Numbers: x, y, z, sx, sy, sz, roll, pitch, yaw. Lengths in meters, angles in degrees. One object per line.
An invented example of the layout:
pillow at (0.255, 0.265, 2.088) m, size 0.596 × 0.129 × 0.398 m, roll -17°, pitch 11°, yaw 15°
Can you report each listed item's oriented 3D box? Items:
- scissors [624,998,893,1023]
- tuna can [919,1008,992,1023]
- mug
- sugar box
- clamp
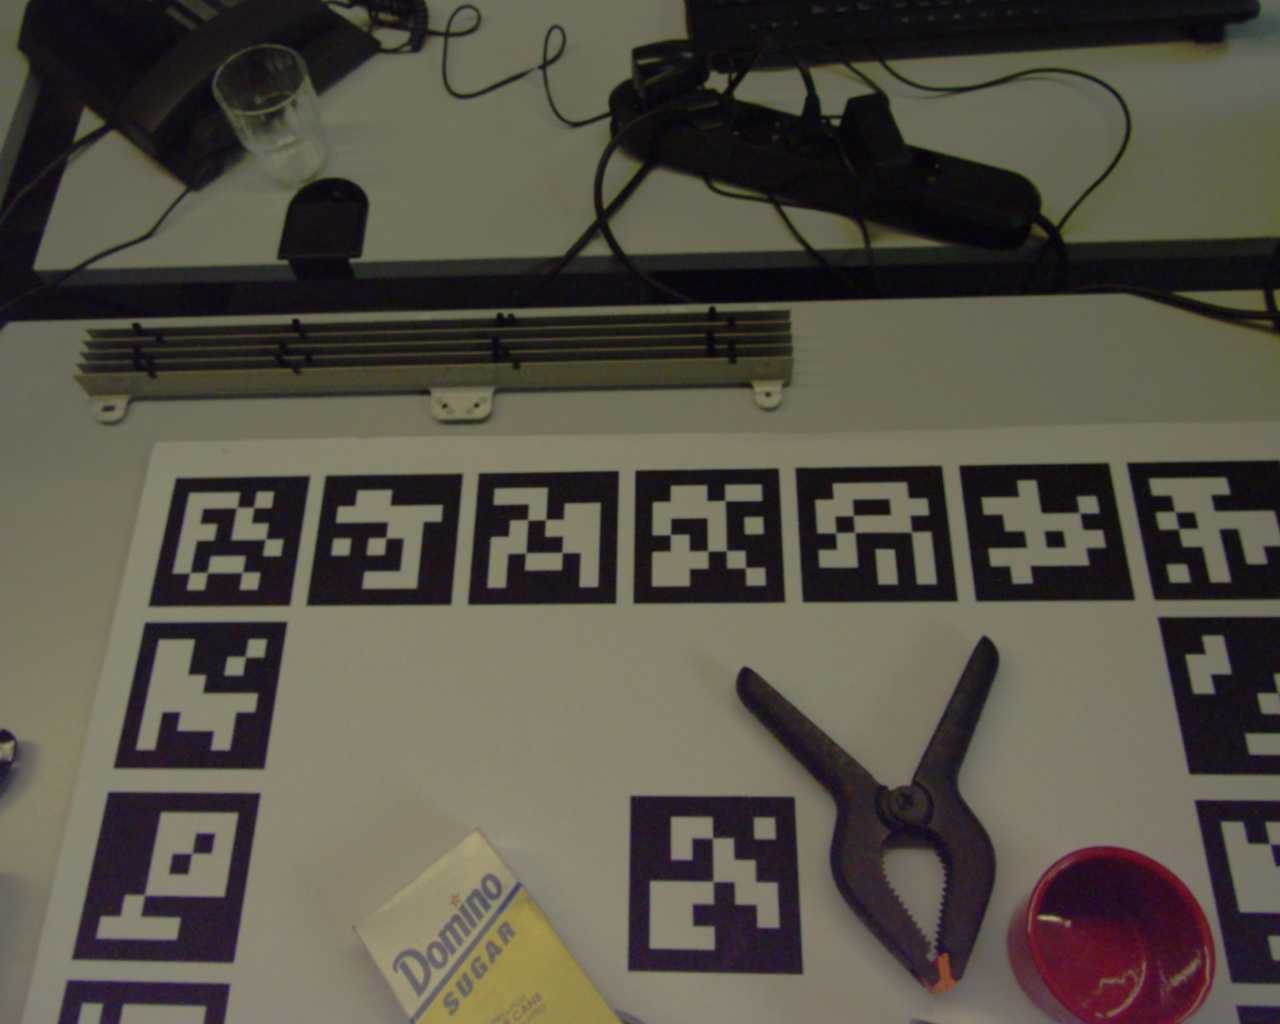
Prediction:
scissors at (0.047, 0.313, 0.661) m, size 0.202 × 0.016 × 0.088 m, roll -11°, pitch 60°, yaw -3°
tuna can at (0.193, 0.301, 0.621) m, size 0.086 × 0.085 × 0.034 m, roll 14°, pitch 66°, yaw 10°
mug at (0.252, 0.253, 0.645) m, size 0.093 × 0.081 × 0.118 m, roll -27°, pitch 62°, yaw -9°
sugar box at (-0.061, 0.289, 0.663) m, size 0.092 × 0.045 × 0.178 m, roll -36°, pitch 61°, yaw -13°
clamp at (0.162, 0.186, 0.716) m, size 0.165 × 0.036 × 0.204 m, roll -11°, pitch 65°, yaw -1°
